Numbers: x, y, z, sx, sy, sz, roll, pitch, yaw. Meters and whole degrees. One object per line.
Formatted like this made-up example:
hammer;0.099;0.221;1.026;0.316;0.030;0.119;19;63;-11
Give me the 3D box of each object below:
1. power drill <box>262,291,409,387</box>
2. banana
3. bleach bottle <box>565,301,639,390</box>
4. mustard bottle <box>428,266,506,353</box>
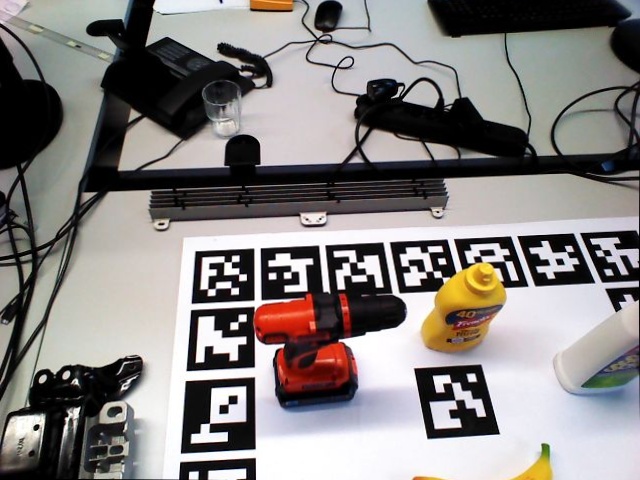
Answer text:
power drill;0.030;0.121;0.651;0.185;0.187;0.057;-9;56;-2
banana;0.225;0.303;0.643;0.197;0.039;0.074;-8;58;-2
bleach bottle;0.411;0.117;0.652;0.103;0.252;0.067;4;55;2
mustard bottle;0.215;0.091;0.709;0.096;0.192;0.058;-8;56;-8
